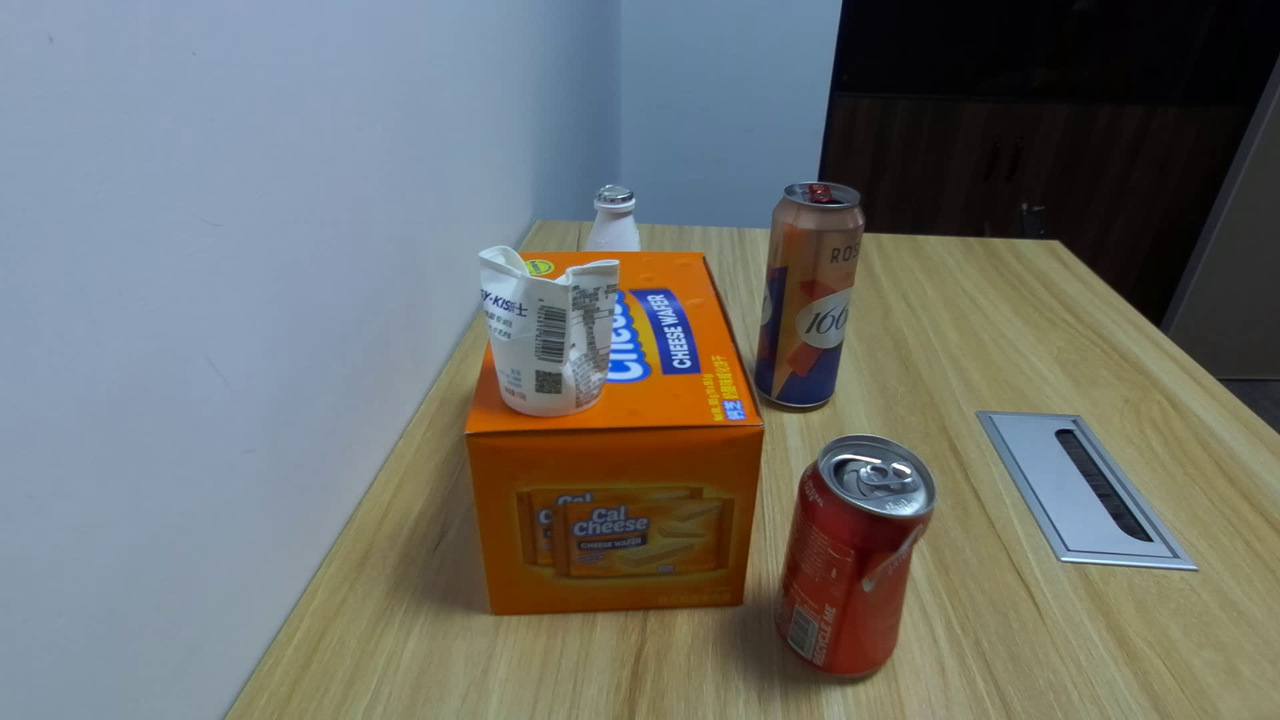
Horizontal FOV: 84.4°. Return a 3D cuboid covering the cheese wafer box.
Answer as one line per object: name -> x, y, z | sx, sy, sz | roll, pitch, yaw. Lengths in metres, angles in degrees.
cheese wafer box -> -0.017, 0.032, 0.455 | 0.148, 0.129, 0.221 | -1, 31, -3

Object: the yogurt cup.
yogurt cup -> -0.045, -0.016, 0.342 | 0.054, 0.072, 0.055 | 27, 39, 36

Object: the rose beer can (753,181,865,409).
rose beer can -> 0.129, -0.046, 0.548 | 0.068, 0.169, 0.068 | 1, 30, -1

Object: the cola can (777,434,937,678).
cola can -> 0.107, 0.097, 0.356 | 0.072, 0.117, 0.065 | -25, 38, -34
